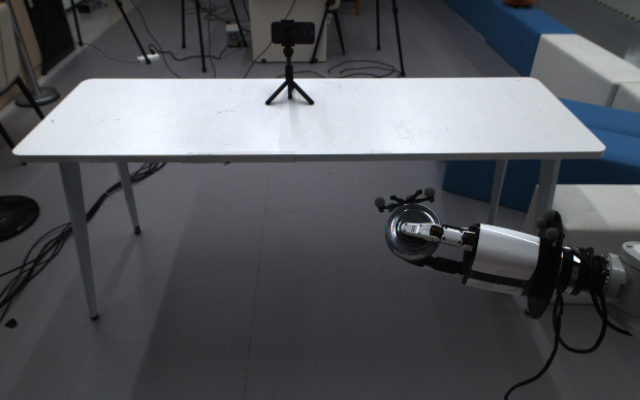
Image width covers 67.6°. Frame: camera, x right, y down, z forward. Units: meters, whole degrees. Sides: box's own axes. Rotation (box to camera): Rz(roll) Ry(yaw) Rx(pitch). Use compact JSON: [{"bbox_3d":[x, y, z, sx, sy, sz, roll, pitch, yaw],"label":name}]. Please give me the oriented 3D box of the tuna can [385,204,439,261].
[{"bbox_3d":[0.145,0.046,0.745,0.085,0.034,0.085,-4,68,9],"label":"tuna can"}]
